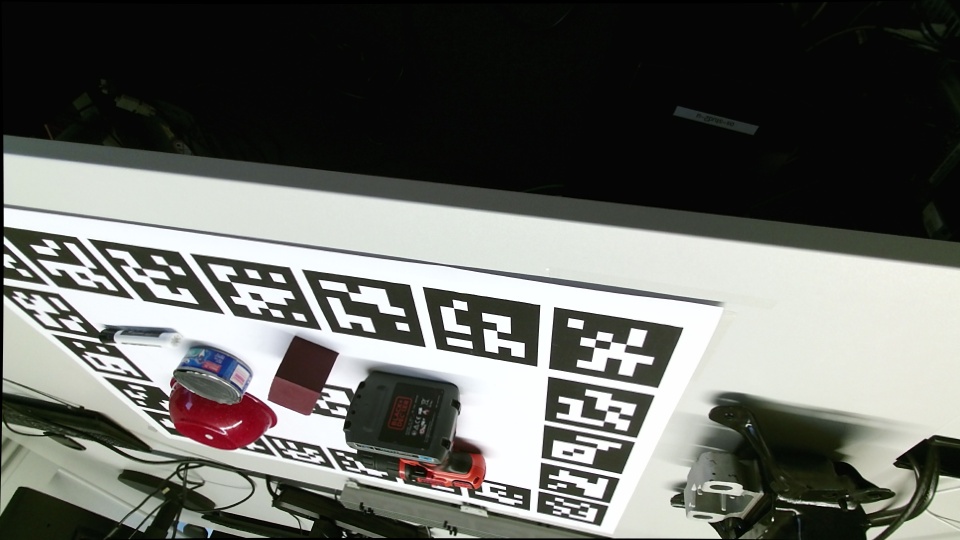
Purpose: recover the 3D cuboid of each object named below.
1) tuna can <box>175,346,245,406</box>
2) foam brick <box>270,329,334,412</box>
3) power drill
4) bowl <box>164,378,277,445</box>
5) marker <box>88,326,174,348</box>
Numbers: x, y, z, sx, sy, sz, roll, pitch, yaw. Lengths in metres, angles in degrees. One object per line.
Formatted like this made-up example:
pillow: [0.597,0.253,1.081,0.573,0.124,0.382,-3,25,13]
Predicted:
tuna can: [-0.339,0.131,0.664,0.086,0.033,0.086,12,140,10]
foam brick: [-0.201,0.112,0.591,0.051,0.052,0.078,25,138,-7]
power drill: [-0.084,0.206,0.651,0.185,0.057,0.187,10,142,14]
bowl: [-0.382,0.211,0.770,0.162,0.055,0.162,8,146,5]
marker: [-0.423,0.080,0.645,0.121,0.019,0.020,2,136,18]
